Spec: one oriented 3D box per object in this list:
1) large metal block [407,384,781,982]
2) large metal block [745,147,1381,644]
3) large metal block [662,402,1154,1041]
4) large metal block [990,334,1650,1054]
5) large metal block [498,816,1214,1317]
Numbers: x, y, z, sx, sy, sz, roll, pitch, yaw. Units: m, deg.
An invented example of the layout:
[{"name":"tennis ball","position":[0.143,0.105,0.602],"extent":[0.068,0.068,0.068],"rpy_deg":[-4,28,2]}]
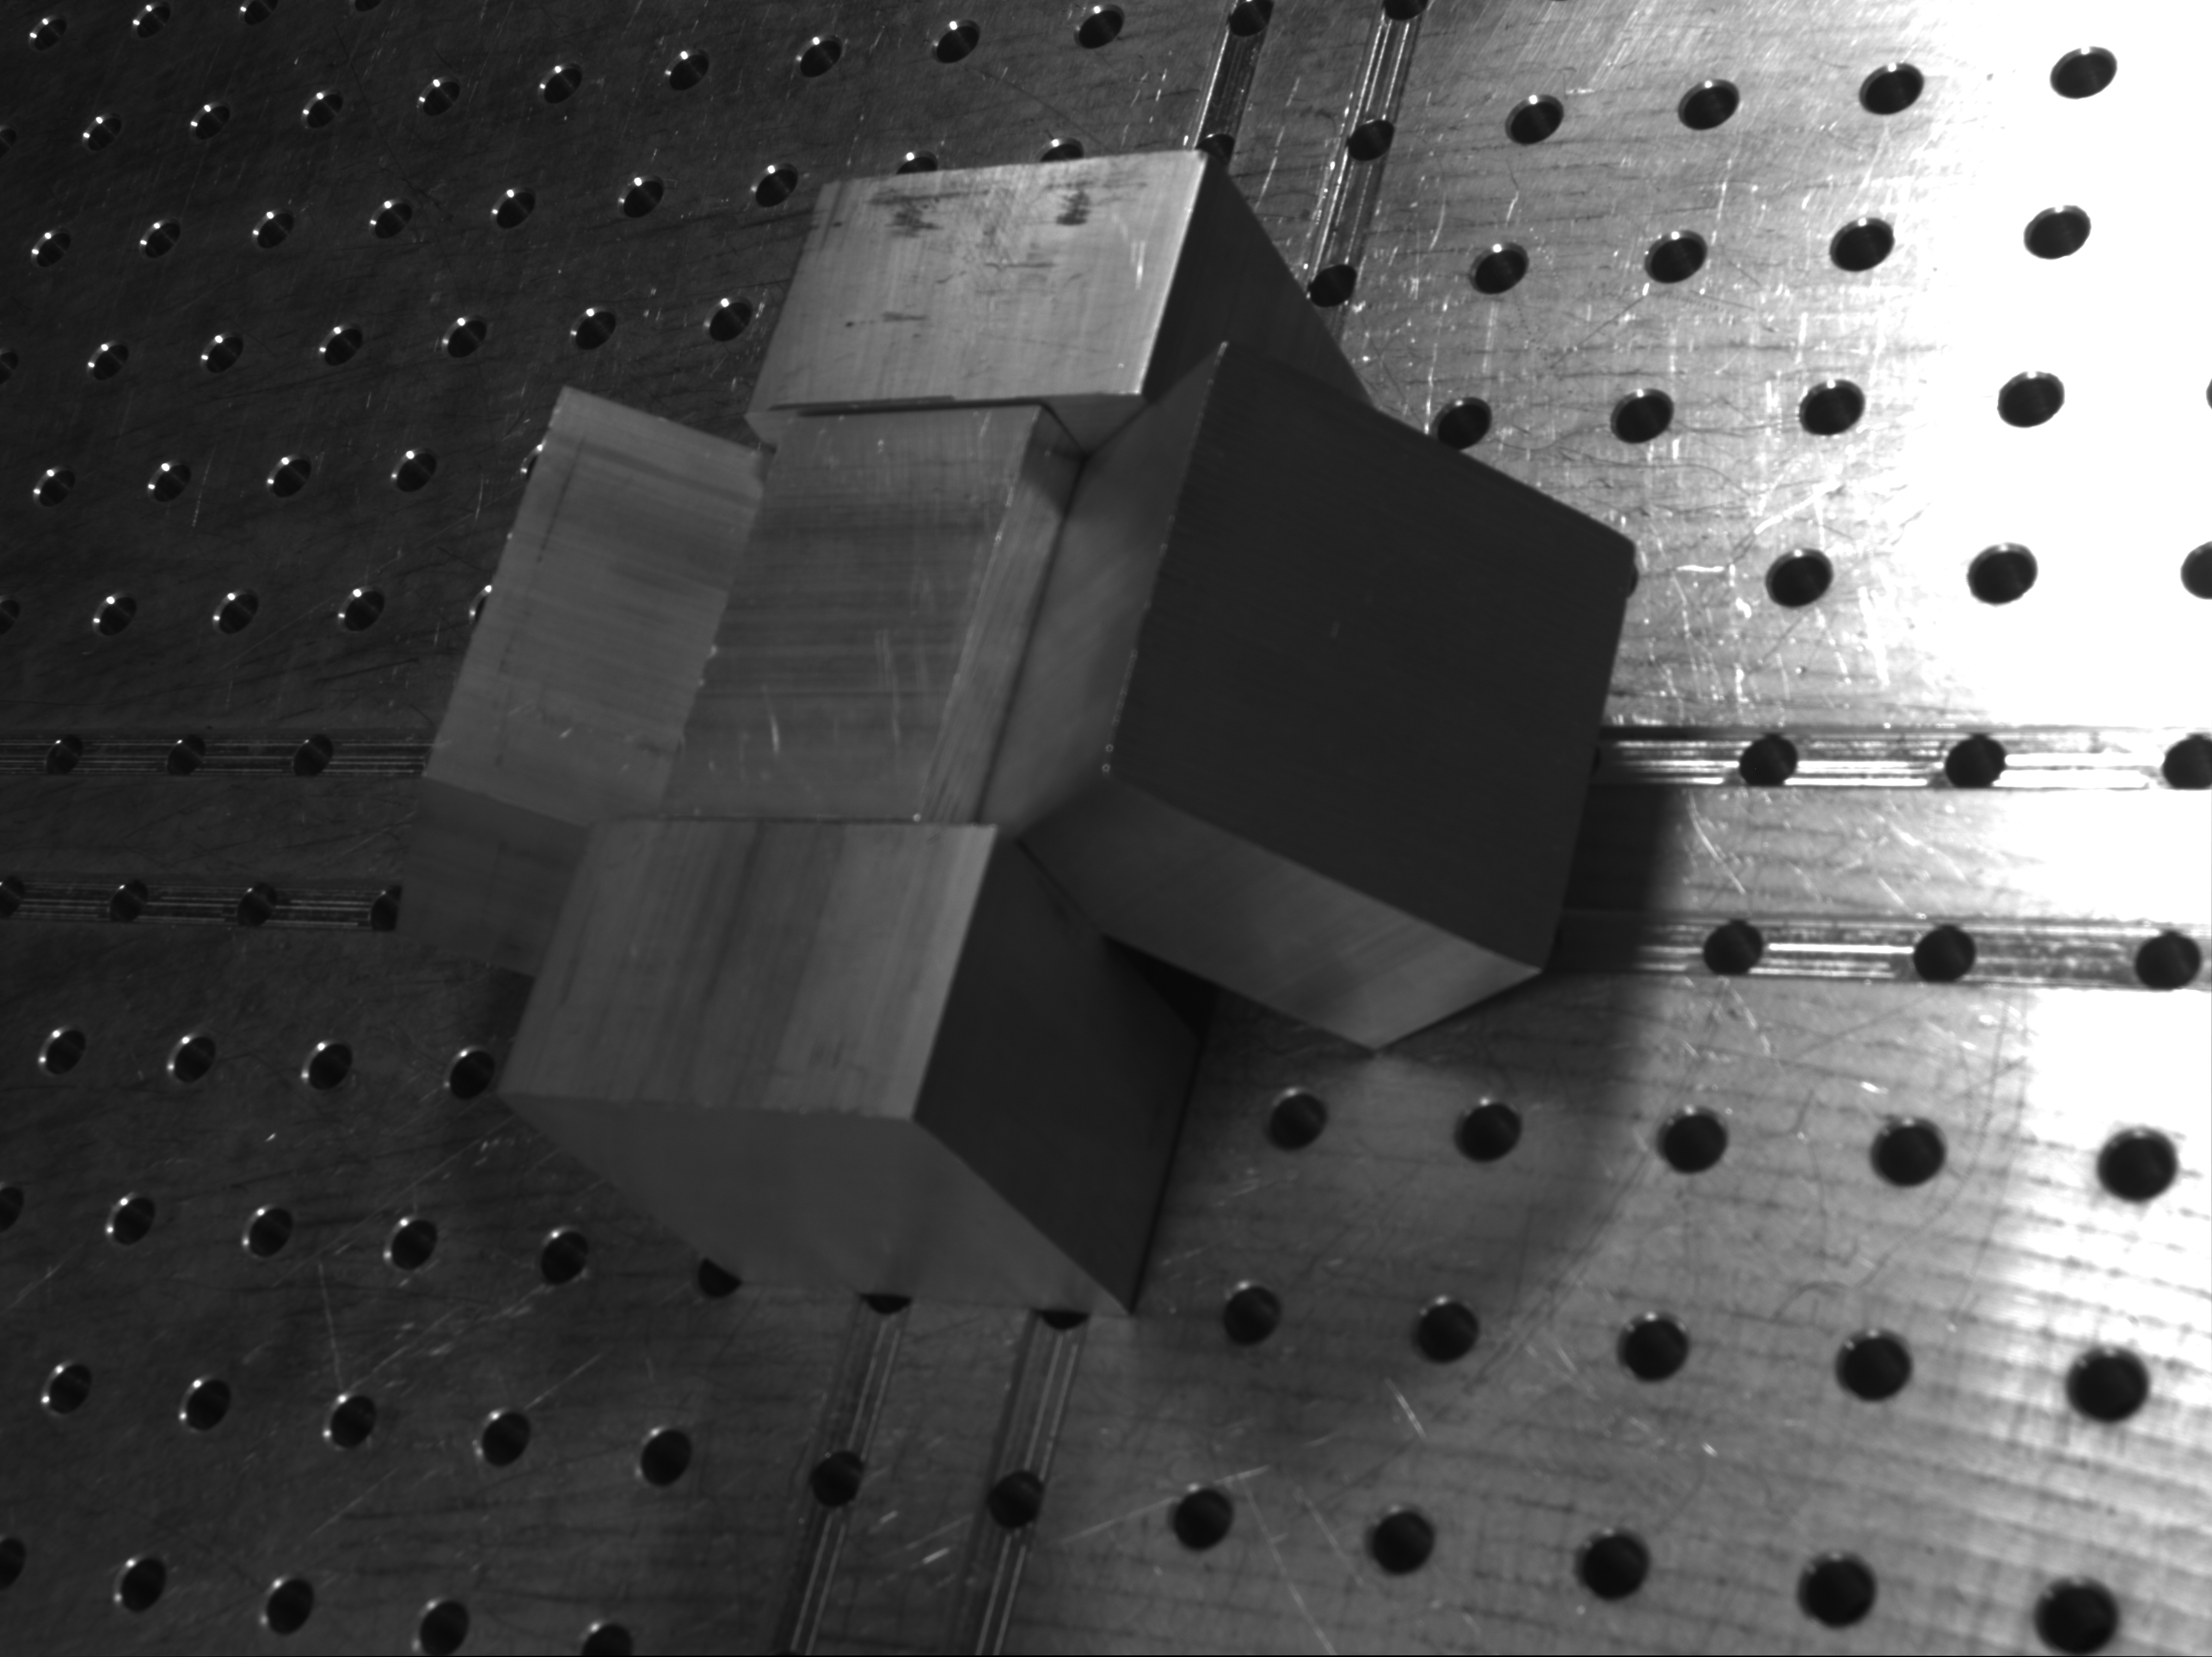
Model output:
[{"name":"large metal block","position":[-0.088,-0.021,0.664],"extent":[0.050,0.080,0.080],"rpy_deg":[18,66,-7]},{"name":"large metal block","position":[-0.005,-0.075,0.659],"extent":[0.080,0.080,0.050],"rpy_deg":[1,62,29]},{"name":"large metal block","position":[-0.024,-0.017,0.634],"extent":[0.050,0.080,0.080],"rpy_deg":[1,62,29]},{"name":"large metal block","position":[0.034,-0.020,0.595],"extent":[0.050,0.080,0.080],"rpy_deg":[-33,37,58]},{"name":"large metal block","position":[-0.039,0.040,0.607],"extent":[0.080,0.080,0.050],"rpy_deg":[1,62,29]}]
